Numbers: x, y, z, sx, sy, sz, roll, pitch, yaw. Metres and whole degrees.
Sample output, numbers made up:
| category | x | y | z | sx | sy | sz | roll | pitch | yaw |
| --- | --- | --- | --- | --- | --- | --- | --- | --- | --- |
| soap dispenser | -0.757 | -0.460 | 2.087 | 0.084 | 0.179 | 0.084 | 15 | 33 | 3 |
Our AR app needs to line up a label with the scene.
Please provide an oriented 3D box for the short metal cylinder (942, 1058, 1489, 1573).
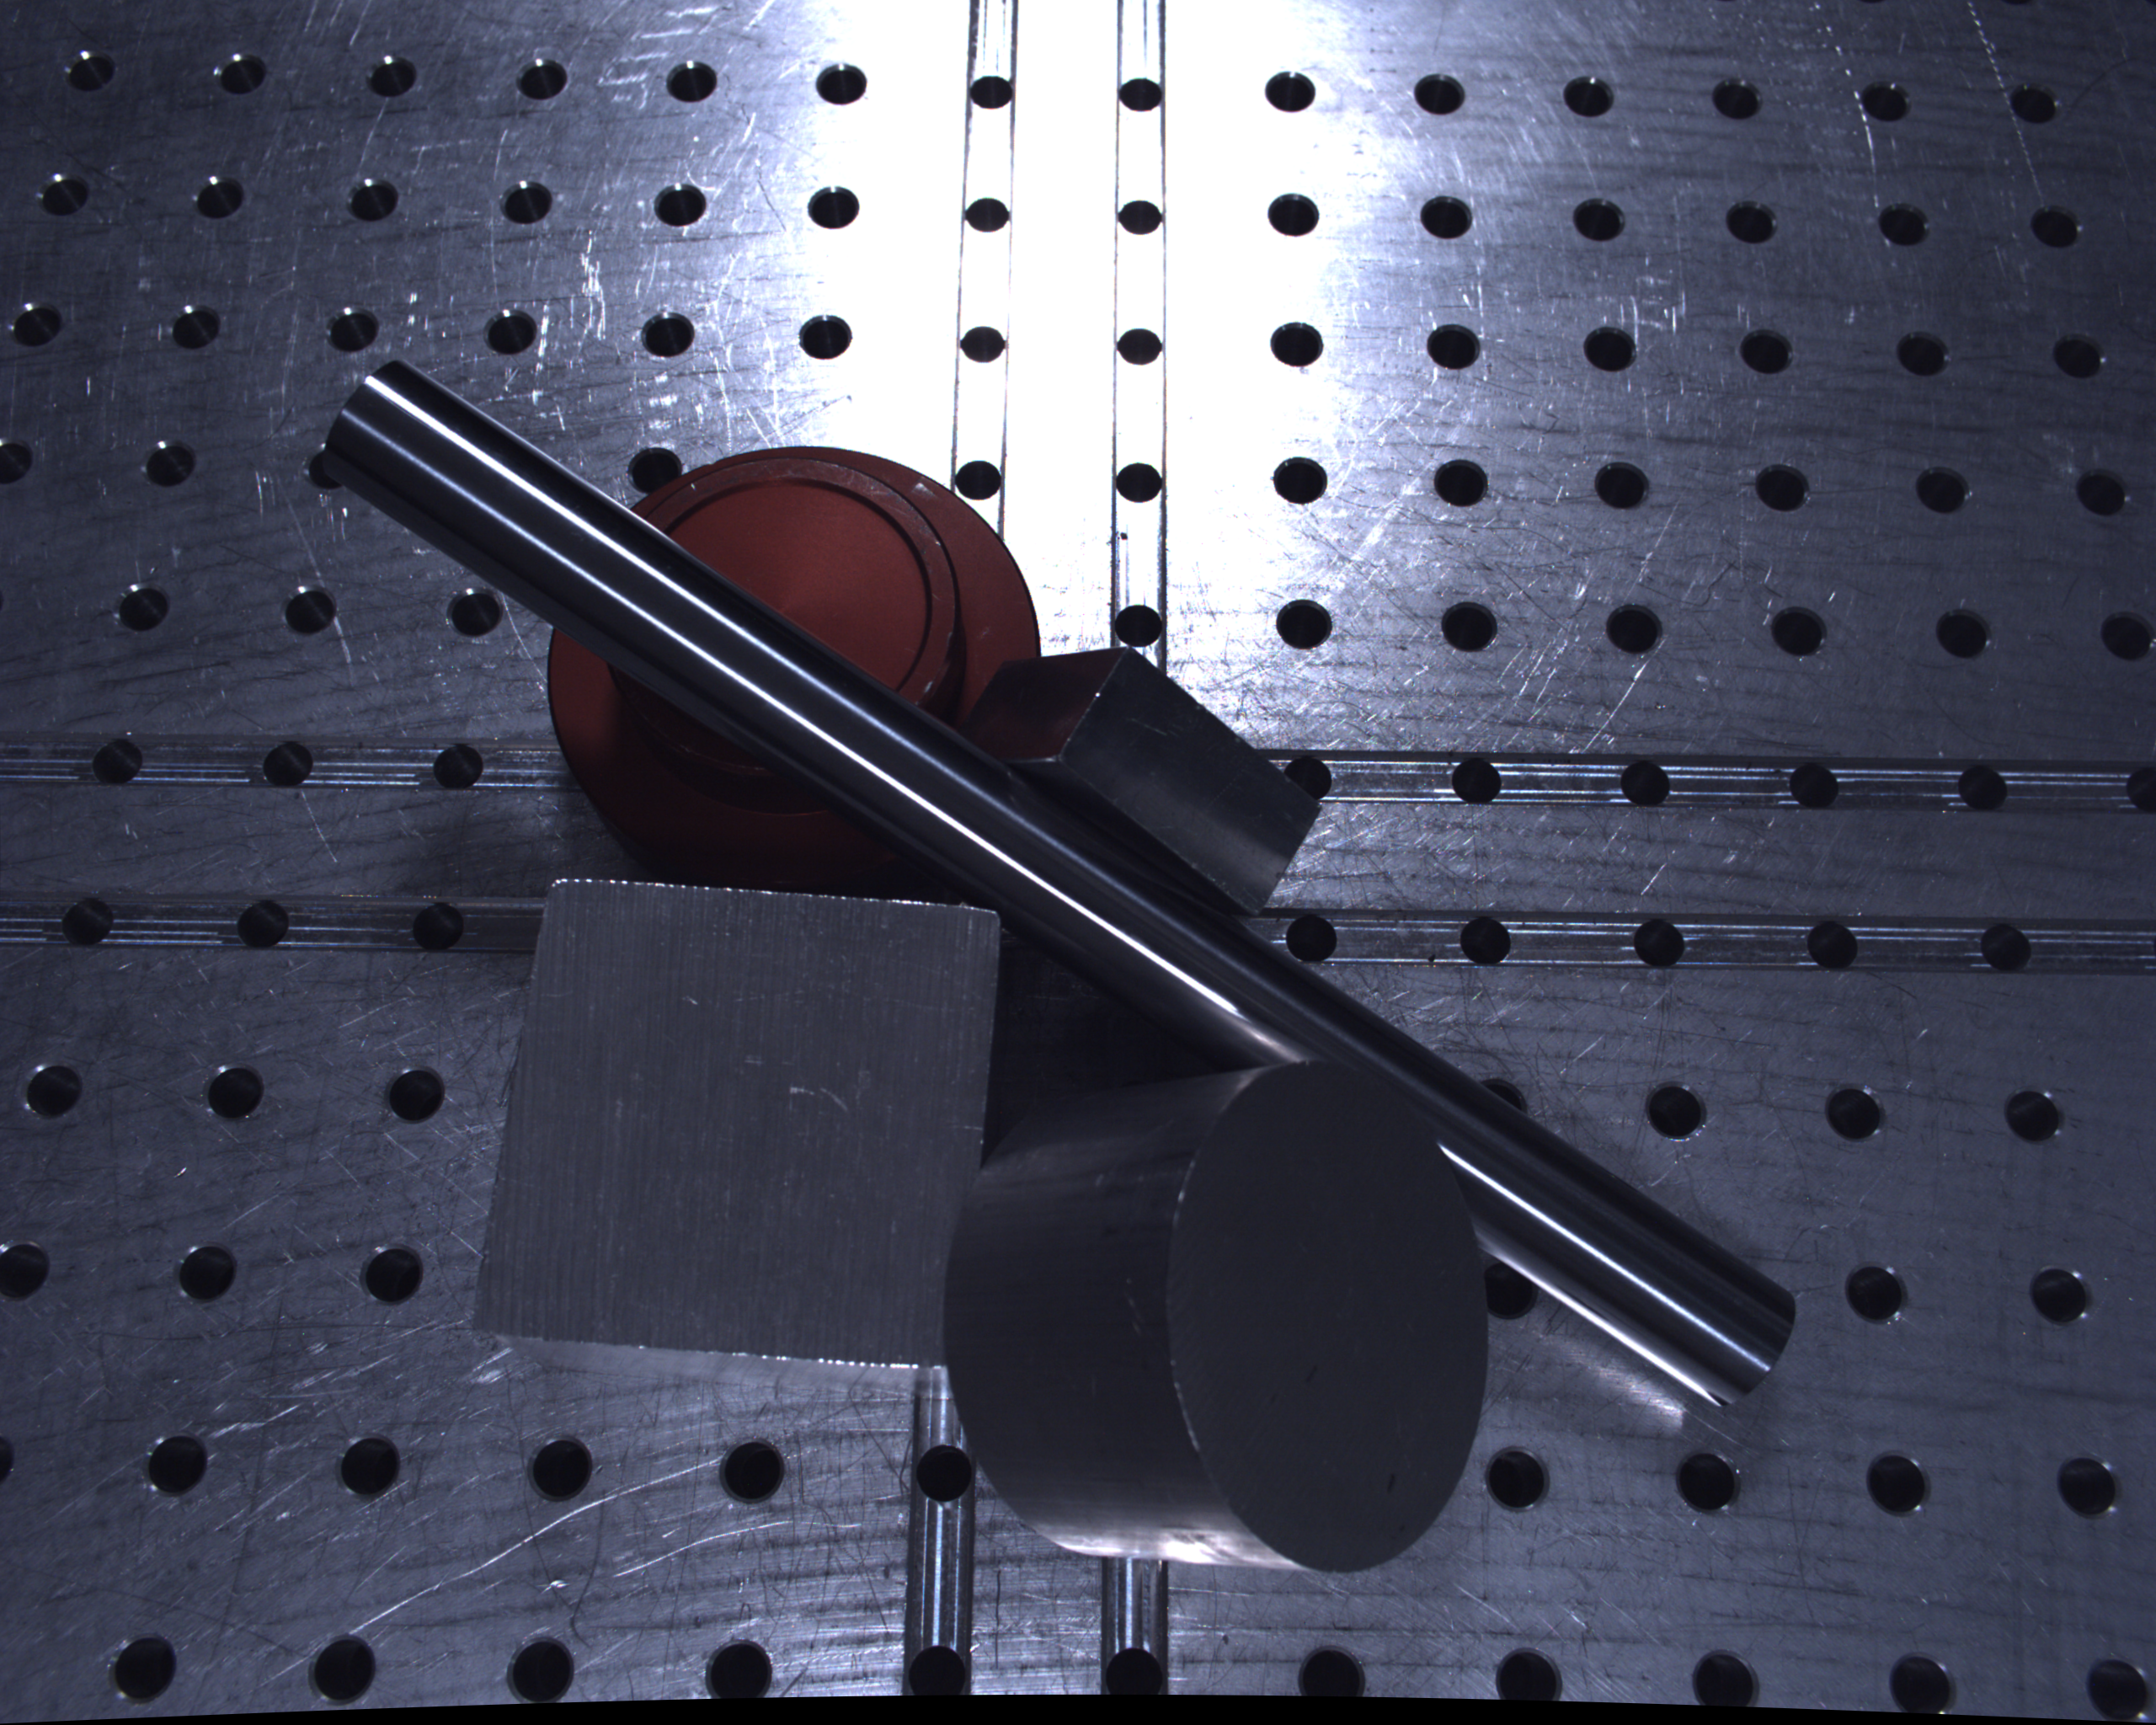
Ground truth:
| category | x | y | z | sx | sy | sz | roll | pitch | yaw |
| --- | --- | --- | --- | --- | --- | --- | --- | --- | --- |
| short metal cylinder | 0.024 | 0.075 | 0.348 | 0.081 | 0.050 | 0.080 | 15 | 69 | -43 |

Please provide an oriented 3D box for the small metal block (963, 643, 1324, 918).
| category | x | y | z | sx | sy | sz | roll | pitch | yaw |
| --- | --- | --- | --- | --- | --- | --- | --- | --- | --- |
| small metal block | 0.009 | -0.015 | 0.394 | 0.050 | 0.050 | 0.025 | 38 | 74 | -24 |

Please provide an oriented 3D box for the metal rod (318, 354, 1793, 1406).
| category | x | y | z | sx | sy | sz | roll | pitch | yaw |
| --- | --- | --- | --- | --- | --- | --- | --- | --- | --- |
| metal rod | -0.002 | 0.004 | 0.376 | 0.301 | 0.025 | 0.025 | 34 | 73 | -2 |

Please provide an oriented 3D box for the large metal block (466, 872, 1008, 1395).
| category | x | y | z | sx | sy | sz | roll | pitch | yaw |
| --- | --- | --- | --- | --- | --- | --- | --- | --- | --- |
| large metal block | -0.057 | 0.051 | 0.377 | 0.081 | 0.050 | 0.080 | 5 | 70 | 1 |

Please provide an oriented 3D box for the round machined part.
| category | x | y | z | sx | sy | sz | roll | pitch | yaw |
| --- | --- | --- | --- | --- | --- | --- | --- | --- | --- |
| round machined part | -0.057 | -0.041 | 0.417 | 0.099 | 0.042 | 0.098 | 0 | 70 | -1 |
